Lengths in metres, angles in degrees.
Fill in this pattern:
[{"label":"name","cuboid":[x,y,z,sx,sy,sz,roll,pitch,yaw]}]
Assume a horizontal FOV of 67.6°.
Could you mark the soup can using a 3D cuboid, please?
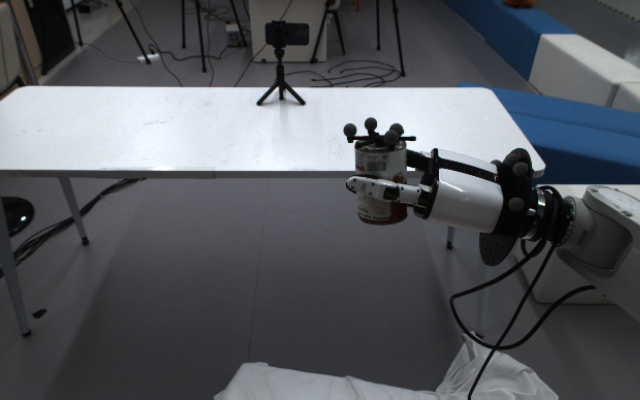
[{"label":"soup can","cuboid":[0.082,-0.027,0.637,0.067,0.101,0.067,-4,21,1]}]
